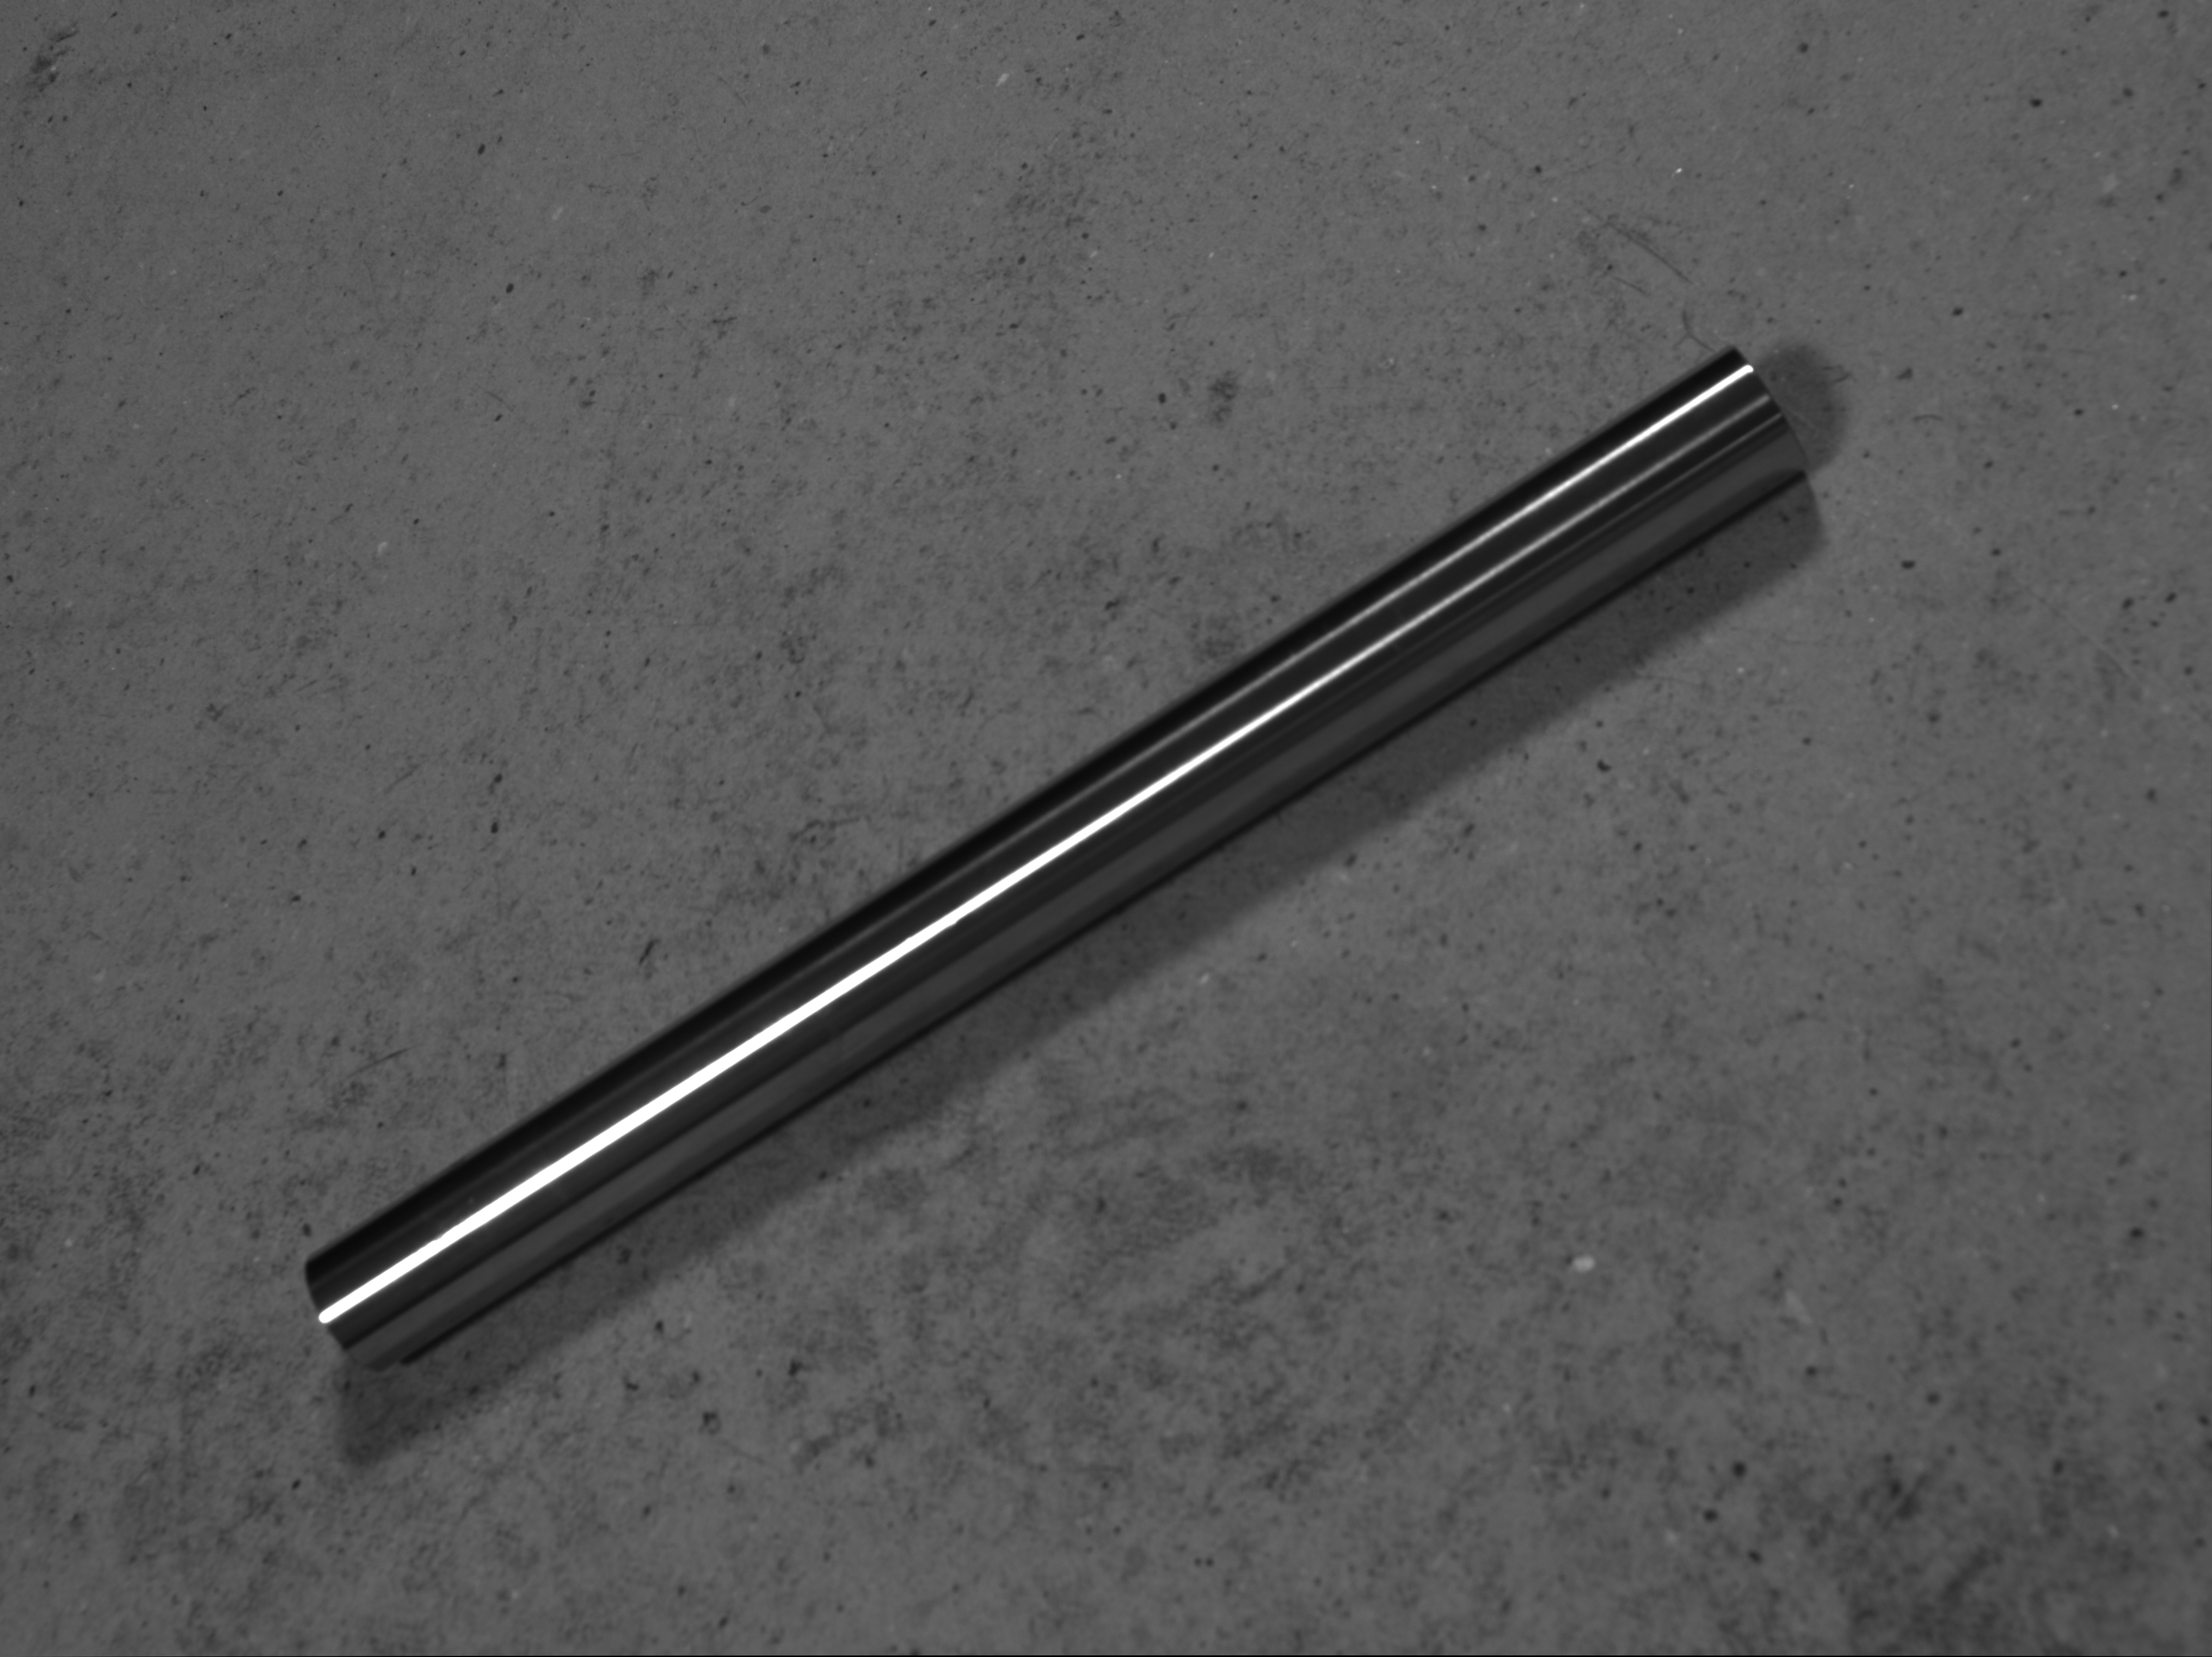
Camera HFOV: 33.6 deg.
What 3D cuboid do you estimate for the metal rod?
[{"bbox_3d":[-0.009,0.008,0.645,0.300,0.025,0.025,-32,51,7],"label":"metal rod"}]
